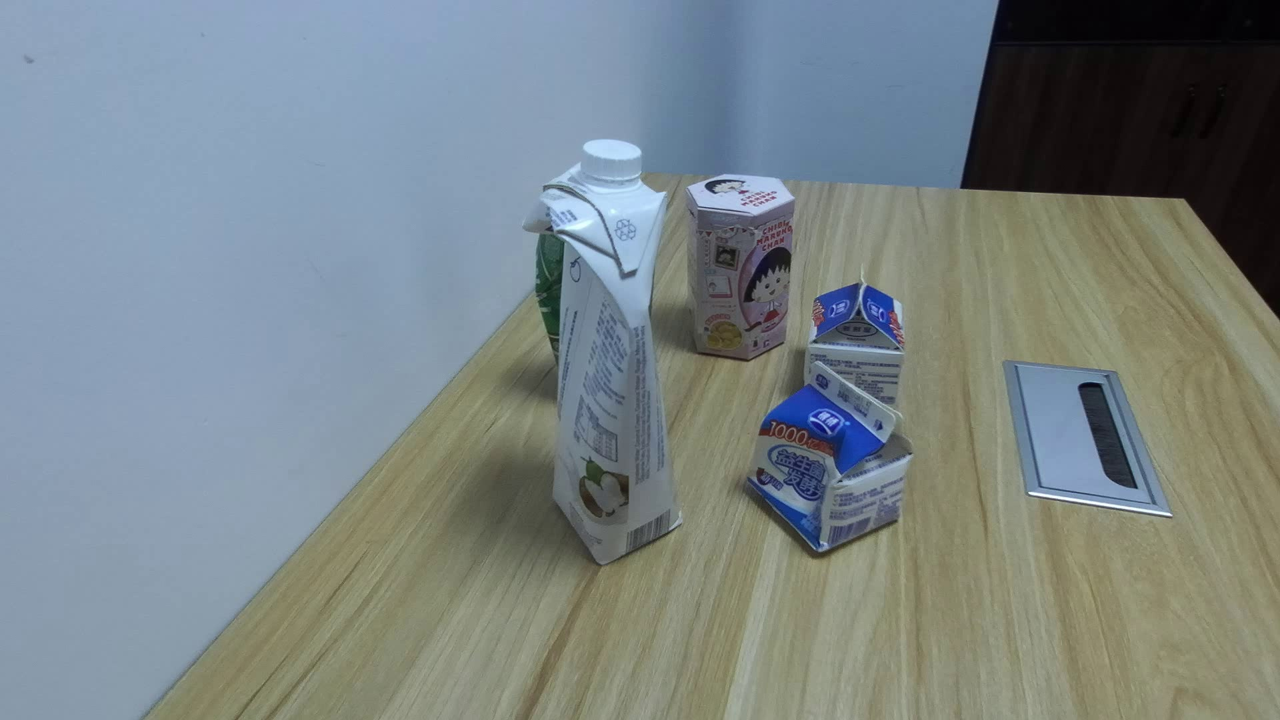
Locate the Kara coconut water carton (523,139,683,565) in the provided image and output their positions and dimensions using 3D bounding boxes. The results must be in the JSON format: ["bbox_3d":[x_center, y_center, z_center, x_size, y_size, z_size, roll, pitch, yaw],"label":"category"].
[{"bbox_3d":[-0.018,0.002,0.400,0.069,0.239,0.114,-18,36,-23],"label":"Kara coconut water carton"}]

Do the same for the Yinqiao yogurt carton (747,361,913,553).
[{"bbox_3d":[0.120,0.055,0.435,0.071,0.094,0.077,-15,35,-25],"label":"Yinqiao yogurt carton"}]

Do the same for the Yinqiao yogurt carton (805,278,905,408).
[{"bbox_3d":[0.168,-0.022,0.548,0.073,0.092,0.075,6,33,15],"label":"Yinqiao yogurt carton"}]

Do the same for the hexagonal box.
[{"bbox_3d":[0.084,-0.078,0.598,0.091,0.136,0.083,-26,39,-30],"label":"hexagonal box"}]
